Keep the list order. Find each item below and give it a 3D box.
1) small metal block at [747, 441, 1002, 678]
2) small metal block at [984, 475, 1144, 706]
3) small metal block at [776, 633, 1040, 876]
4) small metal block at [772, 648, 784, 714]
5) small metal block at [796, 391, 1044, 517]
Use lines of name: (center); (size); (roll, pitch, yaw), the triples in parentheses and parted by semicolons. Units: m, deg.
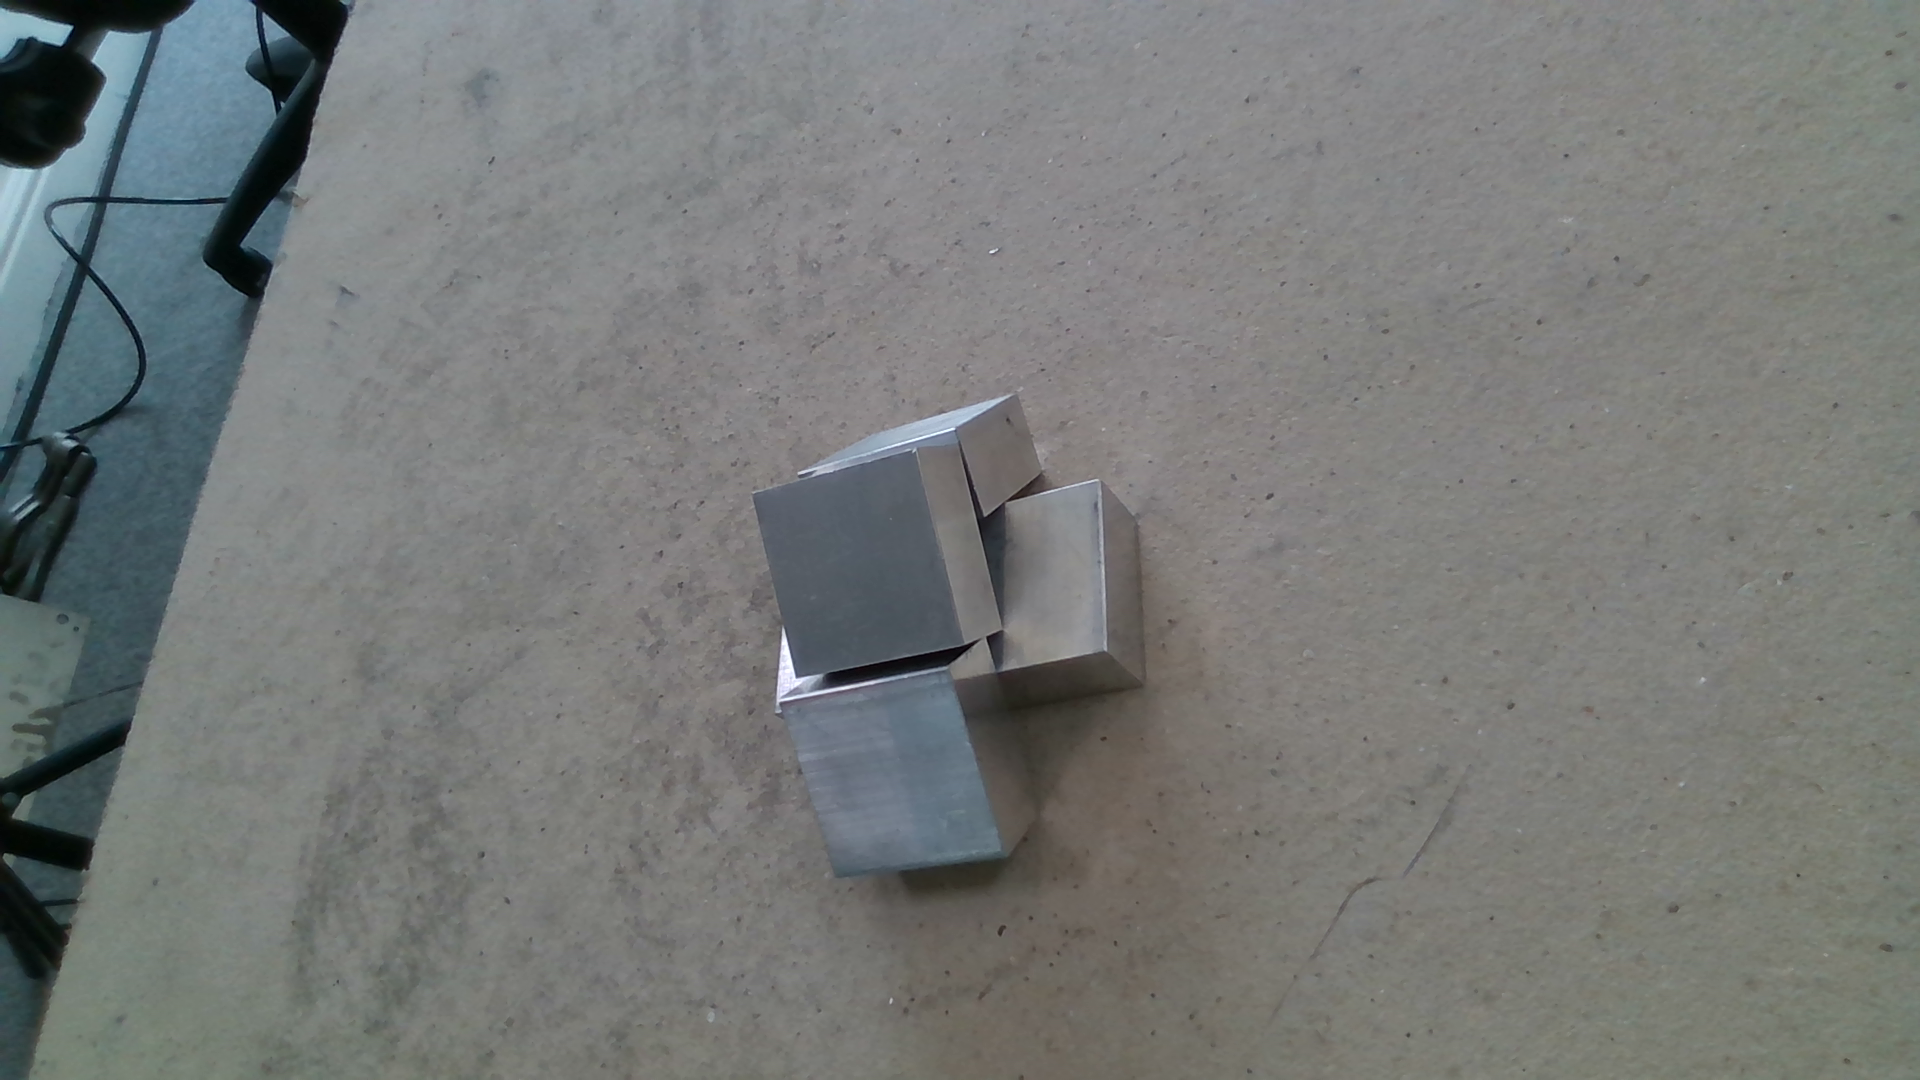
small metal block: (-0.022, 0.005, 0.357); (0.050, 0.025, 0.050); (-13, 90, 26)
small metal block: (0.020, 0.015, 0.372); (0.050, 0.025, 0.050); (-14, 59, 25)
small metal block: (-0.013, 0.056, 0.355); (0.050, 0.025, 0.050); (-13, 99, 26)
small metal block: (-0.024, 0.026, 0.394); (0.050, 0.025, 0.050); (-14, 59, 25)
small metal block: (-0.010, -0.019, 0.392); (0.050, 0.050, 0.025); (-14, 101, 25)
